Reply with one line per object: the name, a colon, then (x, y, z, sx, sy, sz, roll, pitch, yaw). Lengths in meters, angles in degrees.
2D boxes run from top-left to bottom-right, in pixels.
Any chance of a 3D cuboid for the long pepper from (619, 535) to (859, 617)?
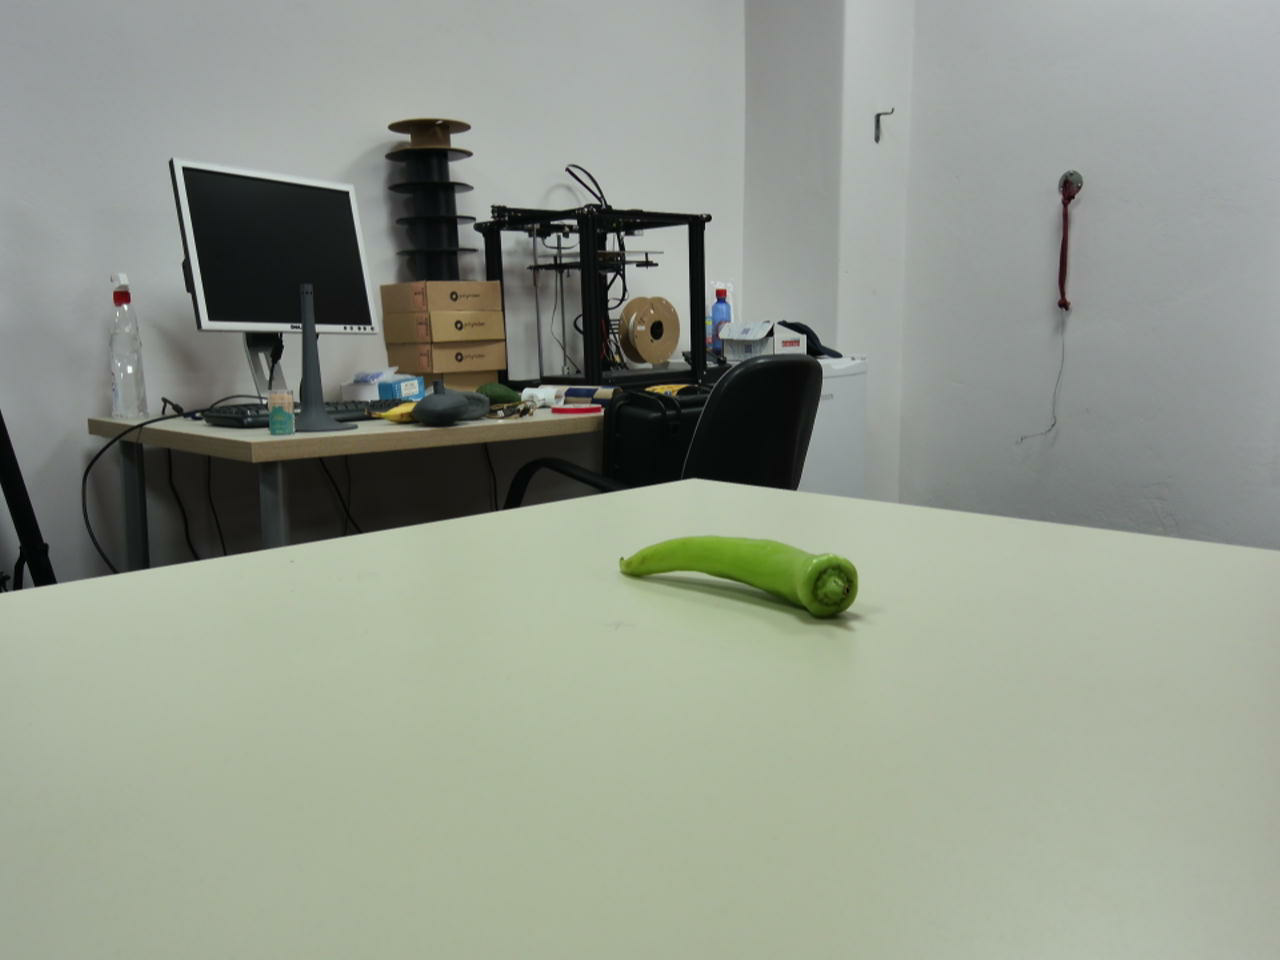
long pepper: (0.060, 0.053, 0.630, 0.046, 0.038, 0.197, -5, 8, -41)
